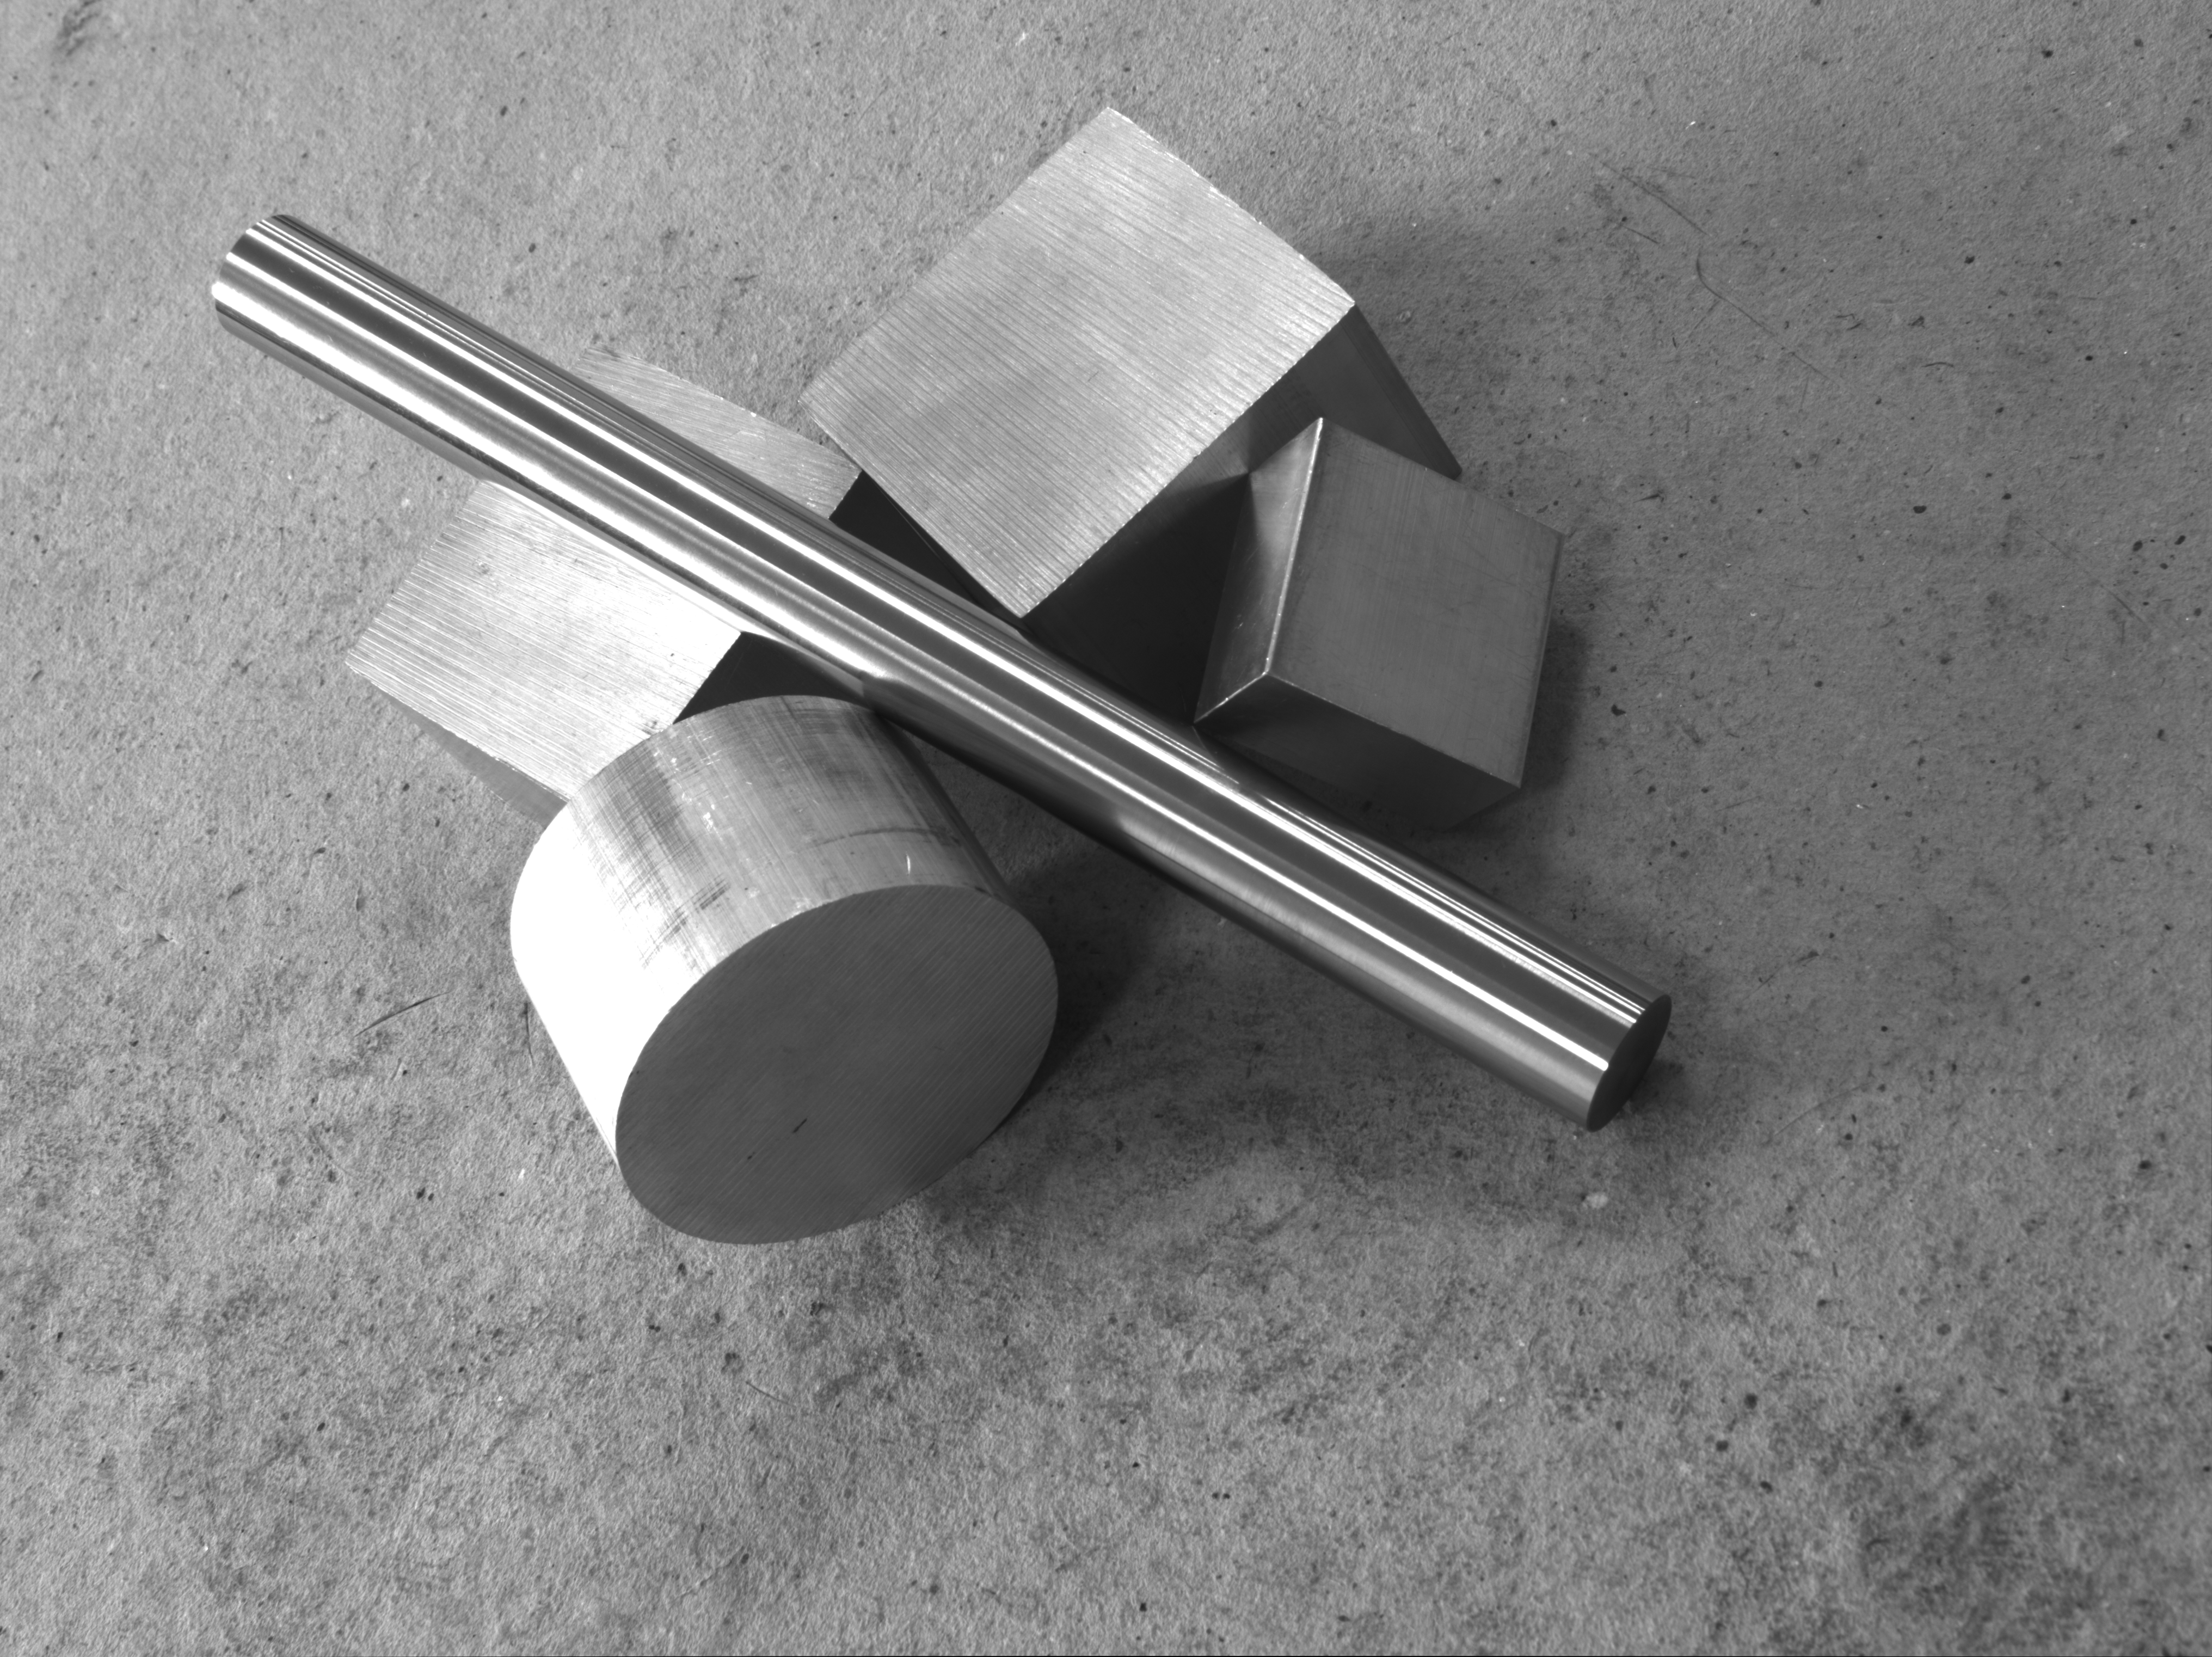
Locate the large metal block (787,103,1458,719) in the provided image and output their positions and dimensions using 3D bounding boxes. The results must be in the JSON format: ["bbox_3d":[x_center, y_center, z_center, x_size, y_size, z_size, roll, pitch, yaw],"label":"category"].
[{"bbox_3d":[0.003,-0.072,0.670,0.080,0.050,0.080,-43,51,-1],"label":"large metal block"}]

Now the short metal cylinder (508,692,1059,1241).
[{"bbox_3d":[-0.055,0.024,0.625,0.080,0.080,0.050,-38,51,3],"label":"short metal cylinder"}]

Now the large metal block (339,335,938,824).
[{"bbox_3d":[-0.084,-0.037,0.698,0.080,0.050,0.080,28,77,38],"label":"large metal block"}]

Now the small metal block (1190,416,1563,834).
[{"bbox_3d":[0.046,-0.034,0.623,0.025,0.050,0.050,-32,40,56],"label":"small metal block"}]

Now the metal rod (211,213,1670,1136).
[{"bbox_3d":[-0.038,-0.033,0.634,0.299,0.025,0.025,30,78,21],"label":"metal rod"}]
